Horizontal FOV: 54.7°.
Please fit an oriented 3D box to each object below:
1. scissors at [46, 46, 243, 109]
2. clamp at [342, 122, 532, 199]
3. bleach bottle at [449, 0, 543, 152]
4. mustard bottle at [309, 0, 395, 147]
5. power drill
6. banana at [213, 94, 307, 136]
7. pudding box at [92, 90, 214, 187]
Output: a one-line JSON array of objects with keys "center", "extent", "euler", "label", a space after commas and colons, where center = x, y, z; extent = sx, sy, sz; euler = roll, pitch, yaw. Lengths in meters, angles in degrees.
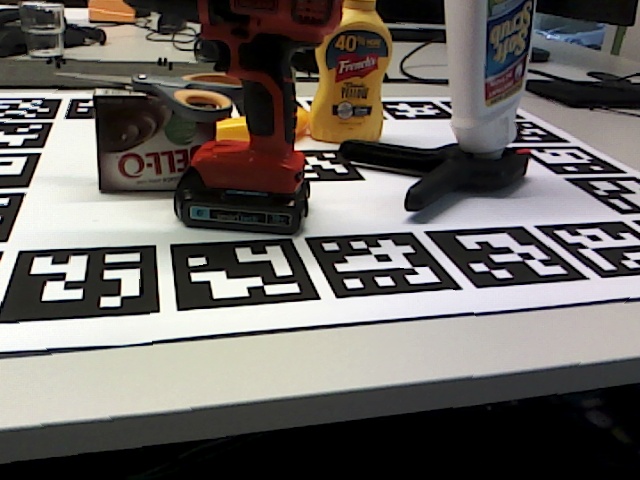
[{"center": [-0.167, -0.160, 0.584], "extent": [0.203, 0.016, 0.088], "euler": [14, 32, 6], "label": "scissors"}, {"center": [0.146, -0.093, 0.677], "extent": [0.202, 0.036, 0.166], "euler": [-4, 31, -21], "label": "clamp"}, {"center": [0.185, -0.194, 0.650], "extent": [0.102, 0.250, 0.068], "euler": [-19, 32, -26], "label": "bleach bottle"}, {"center": [0.042, -0.215, 0.765], "extent": [0.096, 0.191, 0.058], "euler": [5, 27, -2], "label": "mustard bottle"}, {"center": [-0.078, -0.130, 0.517], "extent": [0.184, 0.186, 0.057], "euler": [2, 21, -1], "label": "power drill"}, {"center": [-0.071, -0.160, 0.781], "extent": [0.075, 0.039, 0.196], "euler": [5, 23, 38], "label": "banana"}, {"center": [-0.162, -0.100, 0.610], "extent": [0.113, 0.090, 0.039], "euler": [0, 21, -11], "label": "pudding box"}]
